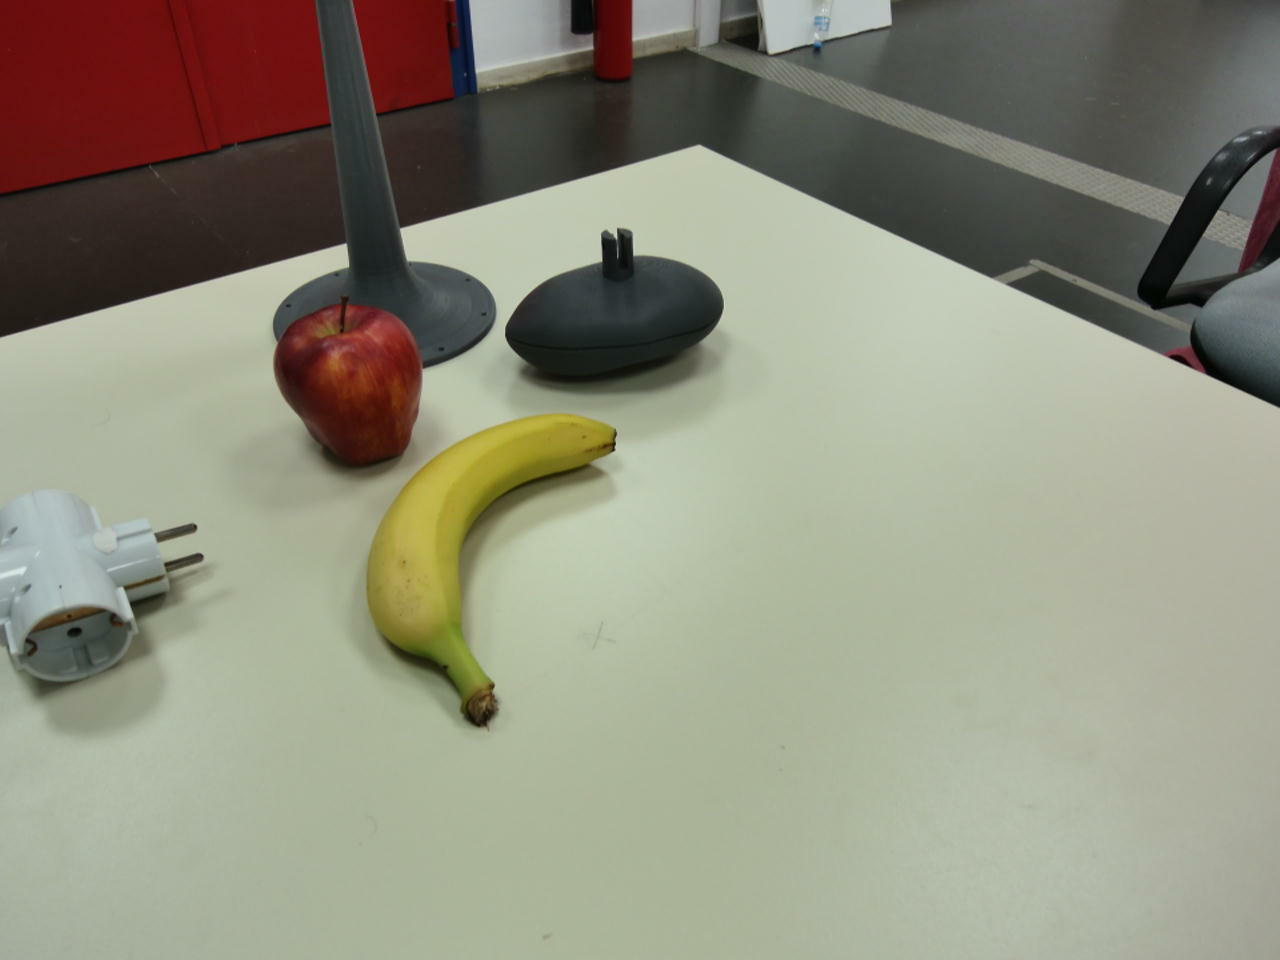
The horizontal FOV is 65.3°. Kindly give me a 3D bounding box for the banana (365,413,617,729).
[{"bbox_3d":[-0.080,0.025,0.494,0.094,0.041,0.196,11,38,12],"label":"banana"}]
